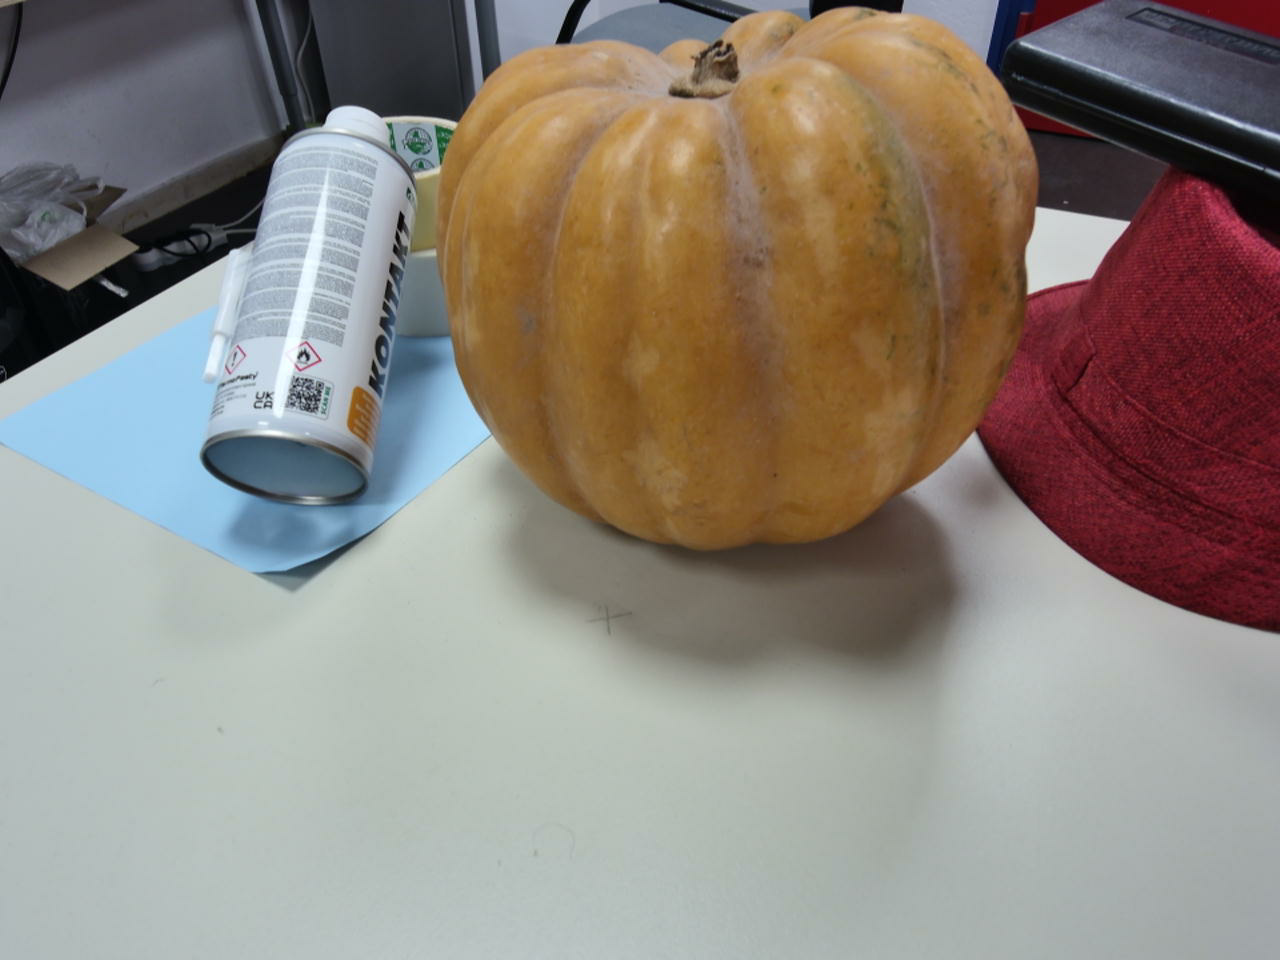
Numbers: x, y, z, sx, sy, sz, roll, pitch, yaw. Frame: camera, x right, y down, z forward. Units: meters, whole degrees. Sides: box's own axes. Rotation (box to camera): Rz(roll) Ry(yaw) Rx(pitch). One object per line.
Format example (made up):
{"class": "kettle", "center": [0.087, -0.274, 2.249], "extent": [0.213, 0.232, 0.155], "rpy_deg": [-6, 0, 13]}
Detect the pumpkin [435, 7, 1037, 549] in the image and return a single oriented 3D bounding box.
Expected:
{"class": "pumpkin", "center": [0.036, -0.078, 0.392], "extent": [0.230, 0.194, 0.230], "rpy_deg": [0, 37, 0]}
